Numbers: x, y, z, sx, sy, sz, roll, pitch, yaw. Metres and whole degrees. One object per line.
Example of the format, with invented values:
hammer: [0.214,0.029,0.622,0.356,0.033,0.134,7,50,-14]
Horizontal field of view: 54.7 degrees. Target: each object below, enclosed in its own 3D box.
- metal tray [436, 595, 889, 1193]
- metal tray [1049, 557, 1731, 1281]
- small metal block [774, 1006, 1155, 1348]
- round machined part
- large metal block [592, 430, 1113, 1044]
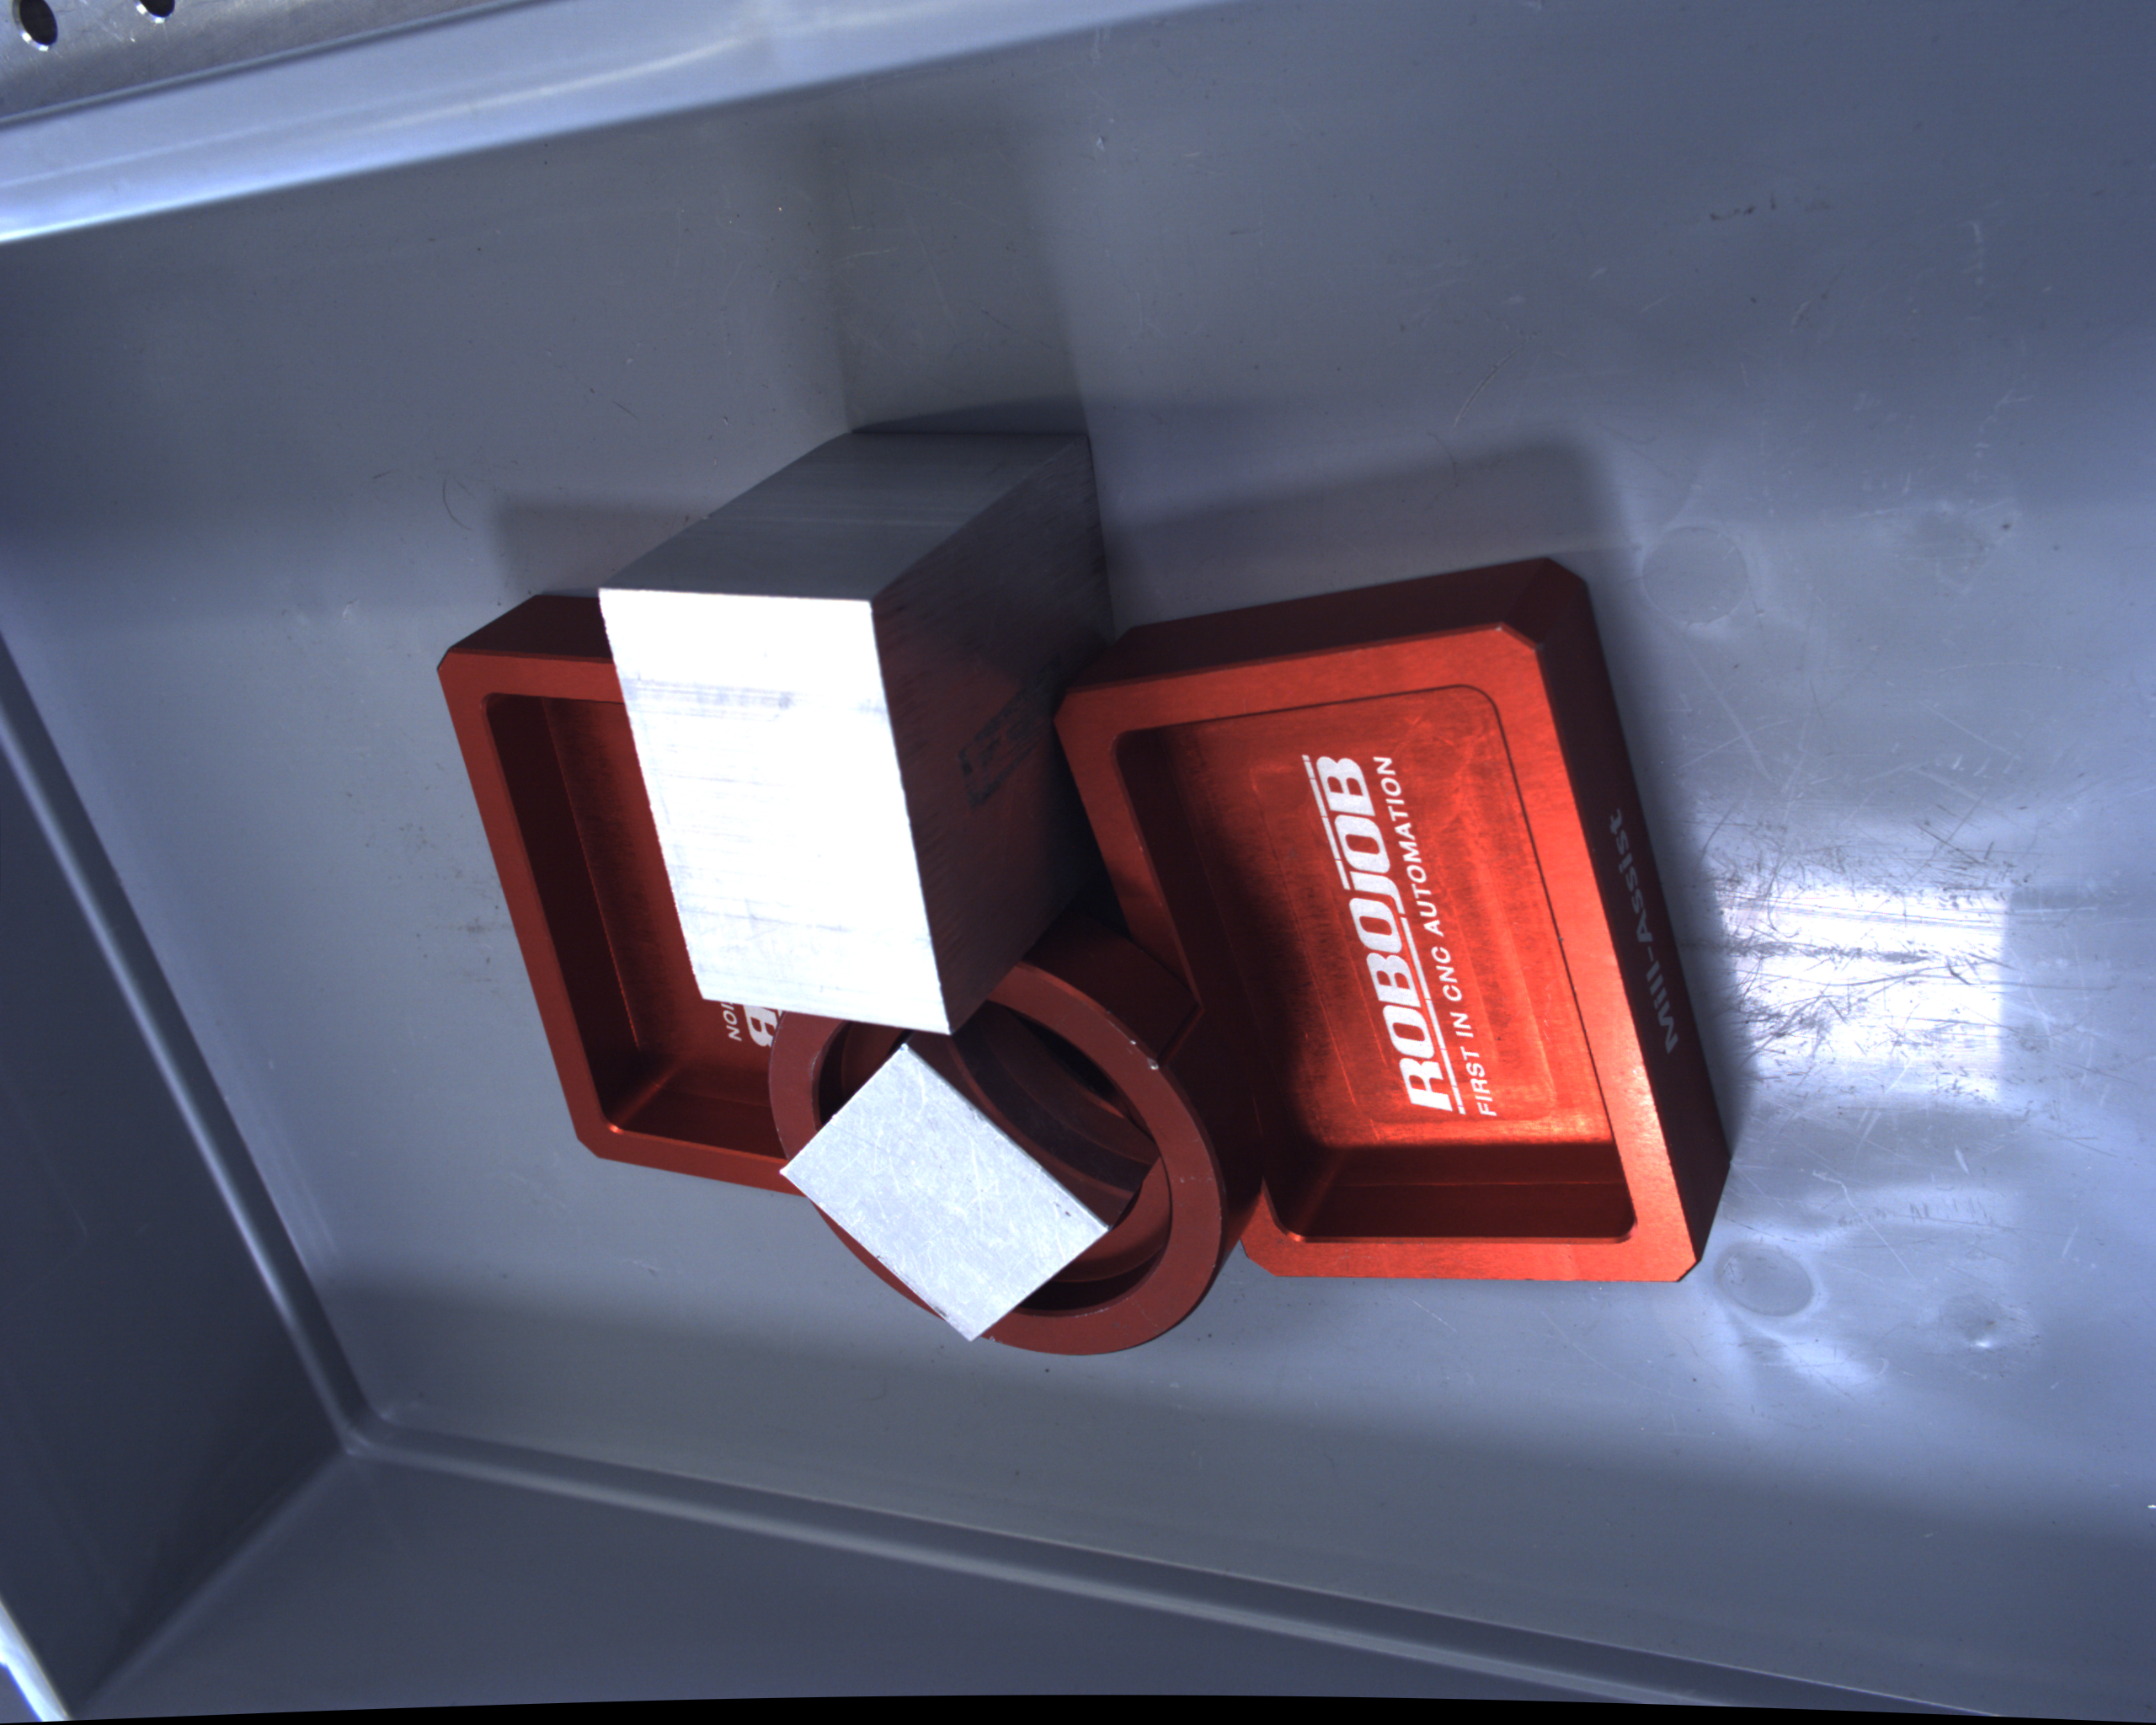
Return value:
metal tray: [-0.078,0.010,0.450,0.090,0.030,0.129,6,121,25]
metal tray: [0.059,0.016,0.381,0.090,0.030,0.129,-7,115,31]
small metal block: [-0.022,0.058,0.399,0.050,0.025,0.050,43,129,-2]
round machined part: [-0.009,0.047,0.417,0.098,0.042,0.097,13,124,21]
large metal block: [-0.033,-0.026,0.372,0.050,0.080,0.079,6,121,25]
